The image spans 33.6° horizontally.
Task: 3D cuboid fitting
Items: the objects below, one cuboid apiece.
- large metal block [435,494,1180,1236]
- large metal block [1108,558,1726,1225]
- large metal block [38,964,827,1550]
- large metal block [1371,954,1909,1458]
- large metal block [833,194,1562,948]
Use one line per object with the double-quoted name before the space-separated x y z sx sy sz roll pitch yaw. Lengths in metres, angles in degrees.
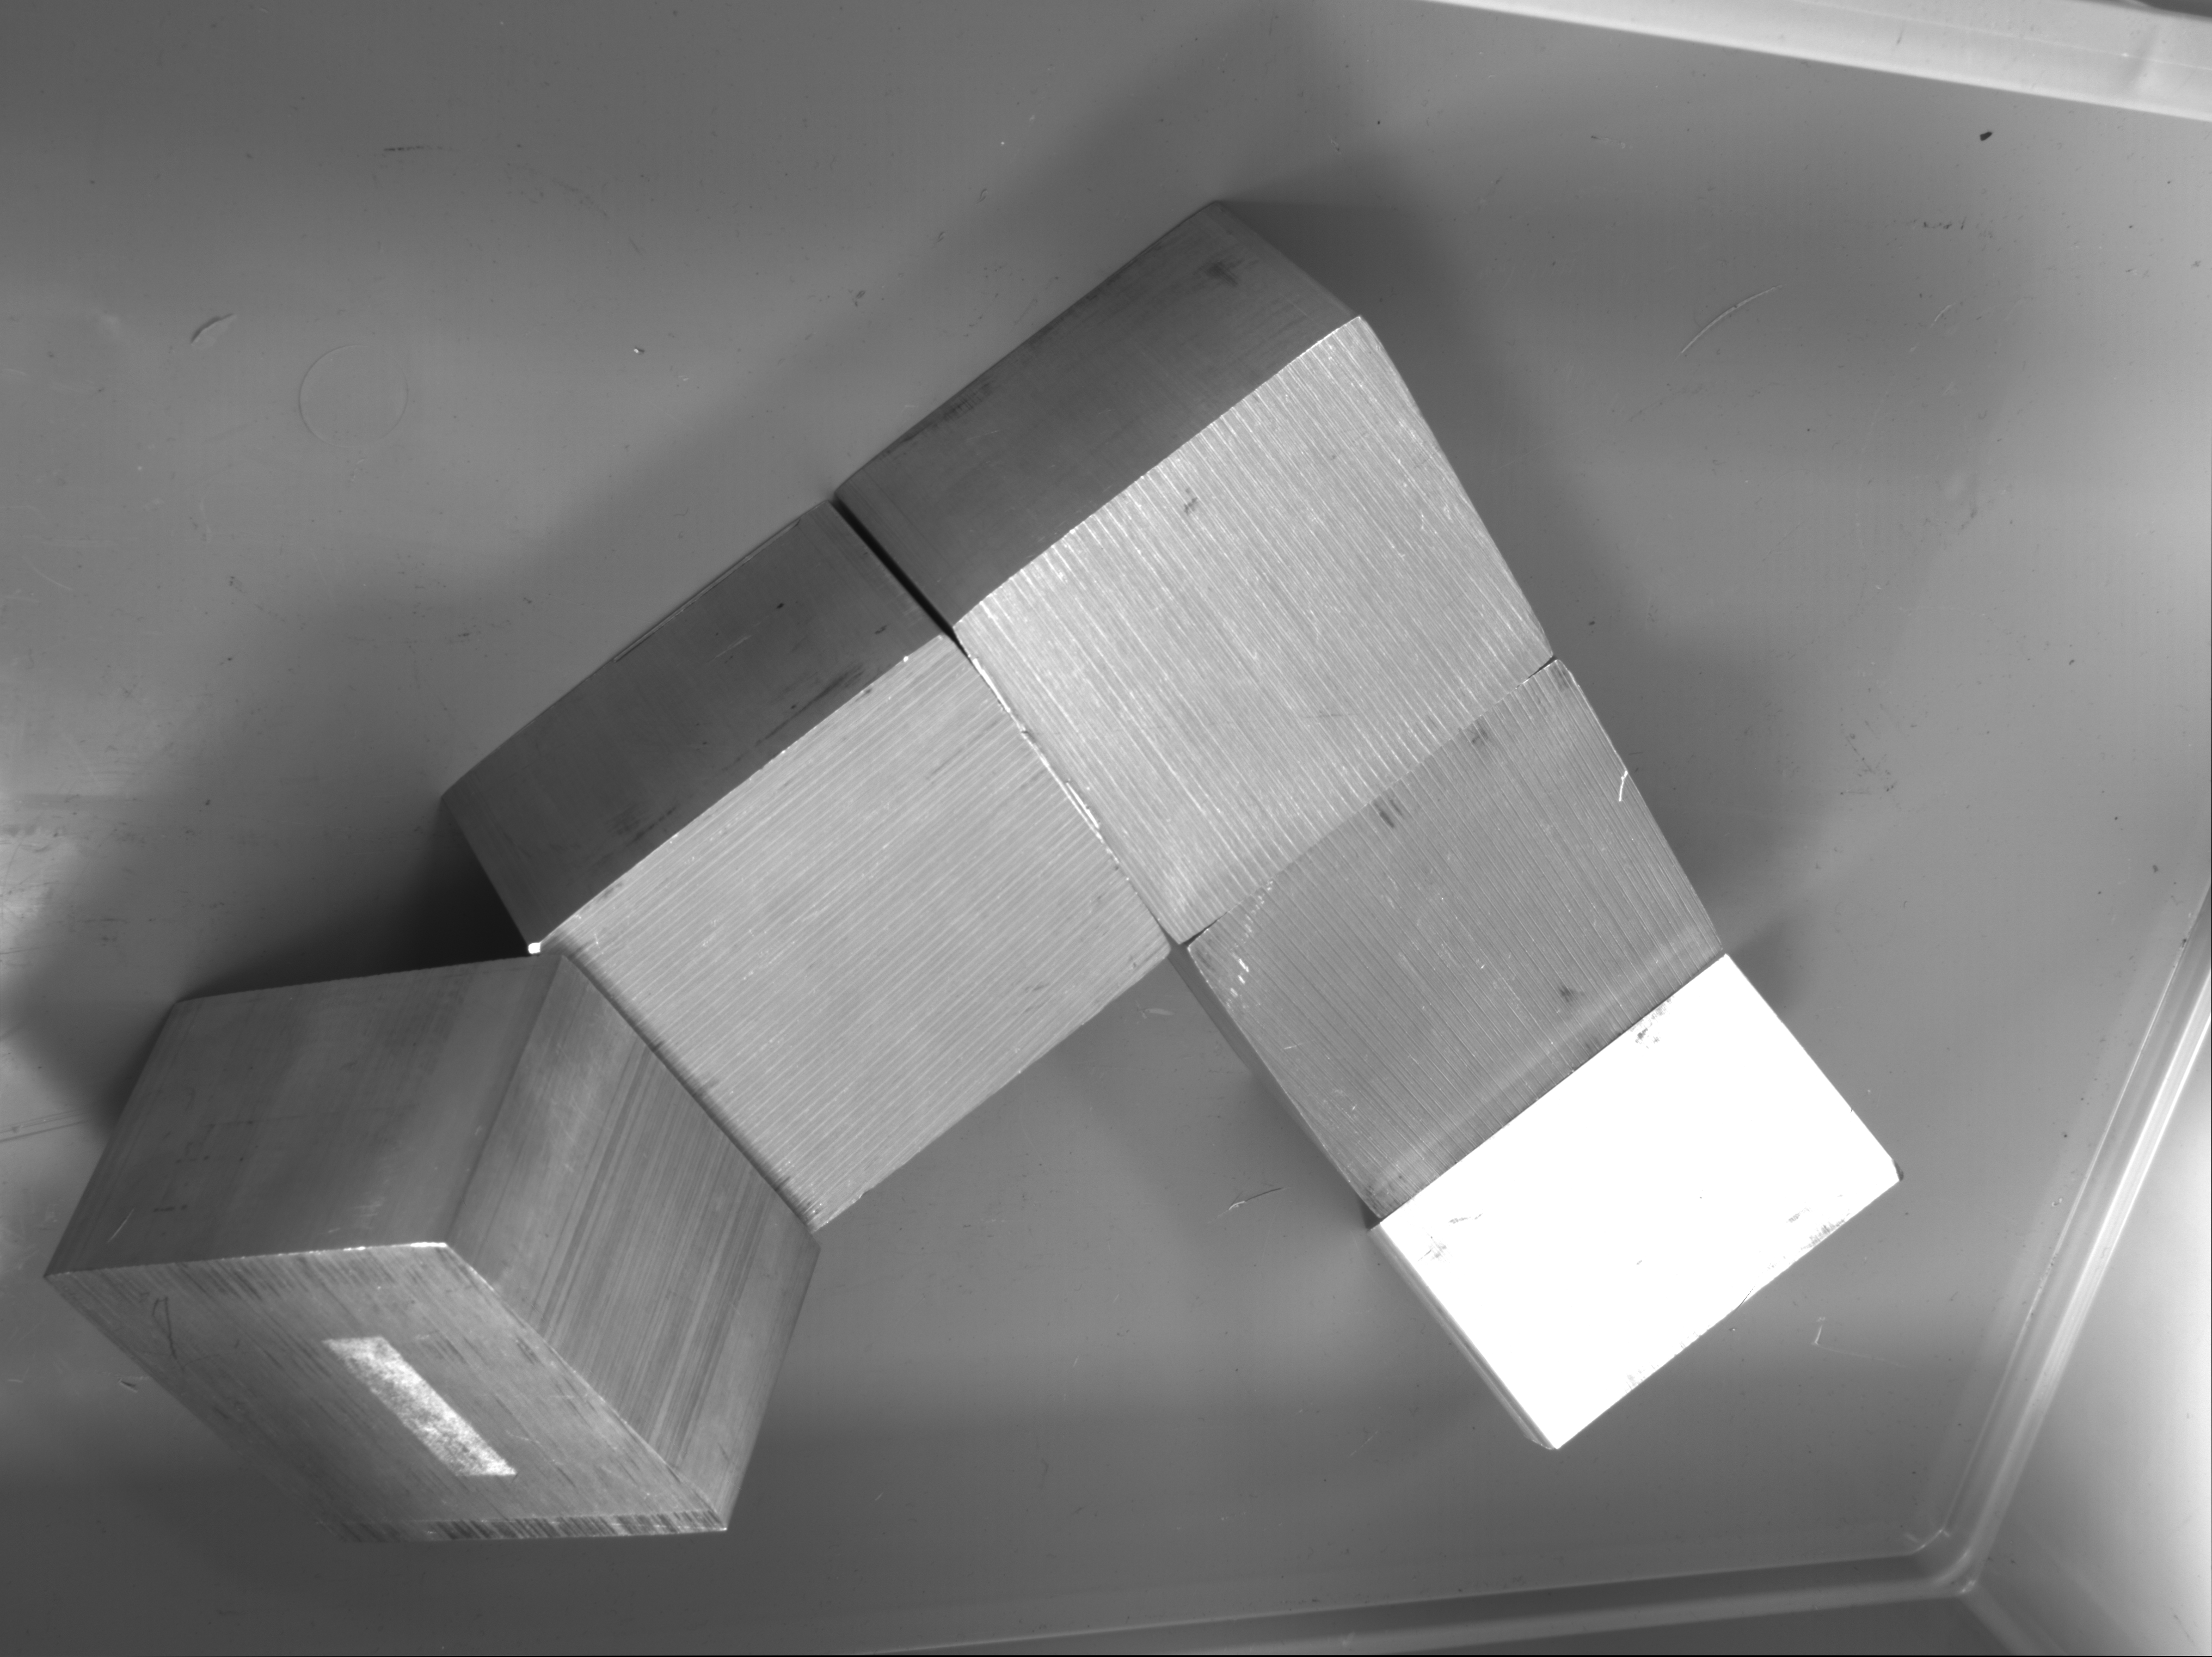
"large metal block" -0.048 0.007 0.598 0.080 0.050 0.080 -38 129 -3
"large metal block" 0.052 0.009 0.653 0.080 0.050 0.080 -38 129 -3
"large metal block" -0.104 0.070 0.578 0.080 0.050 0.080 -9 136 29
"large metal block" 0.097 0.072 0.688 0.080 0.050 0.080 -38 172 -3
"large metal block" 0.016 -0.042 0.602 0.080 0.050 0.080 -38 129 -3
